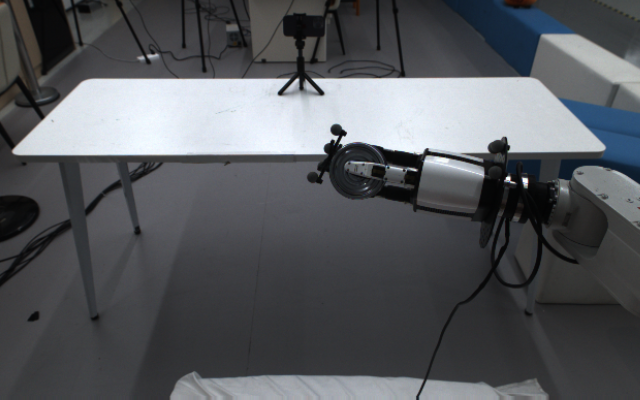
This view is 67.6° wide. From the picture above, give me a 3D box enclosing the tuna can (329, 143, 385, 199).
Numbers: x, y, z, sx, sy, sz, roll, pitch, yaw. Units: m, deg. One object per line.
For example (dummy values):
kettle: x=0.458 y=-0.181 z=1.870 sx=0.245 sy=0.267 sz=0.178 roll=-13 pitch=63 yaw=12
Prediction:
tuna can: x=0.059 y=-0.045 z=0.722 sx=0.085 sy=0.085 sz=0.034 roll=8 pitch=5 yaw=9
